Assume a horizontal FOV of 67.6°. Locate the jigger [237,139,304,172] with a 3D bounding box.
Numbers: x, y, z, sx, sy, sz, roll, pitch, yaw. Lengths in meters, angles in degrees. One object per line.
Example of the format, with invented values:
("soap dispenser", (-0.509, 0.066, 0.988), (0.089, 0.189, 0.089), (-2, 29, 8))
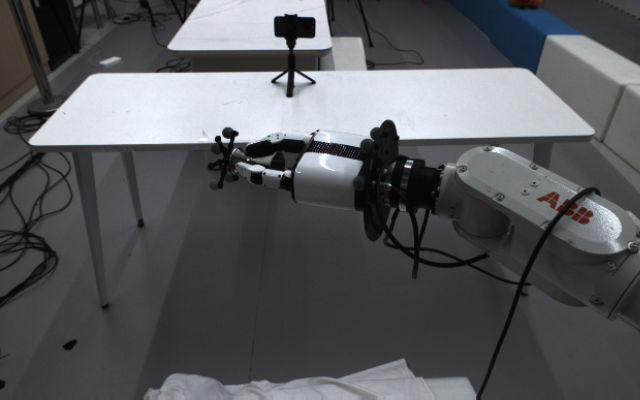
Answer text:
("jigger", (-0.085, -0.055, 0.695), (0.071, 0.043, 0.043), (10, 35, 22))
